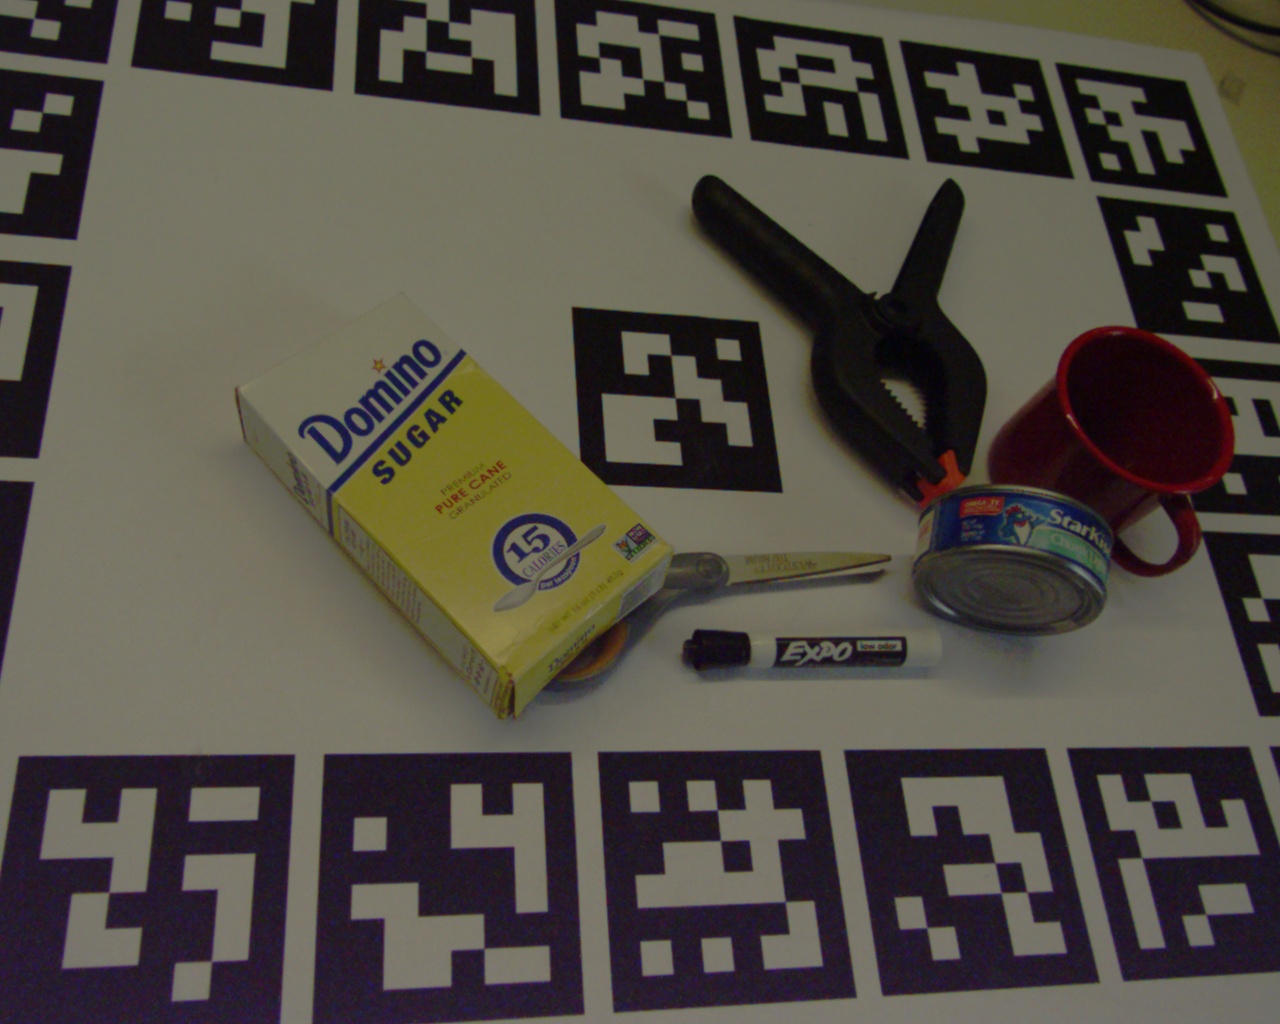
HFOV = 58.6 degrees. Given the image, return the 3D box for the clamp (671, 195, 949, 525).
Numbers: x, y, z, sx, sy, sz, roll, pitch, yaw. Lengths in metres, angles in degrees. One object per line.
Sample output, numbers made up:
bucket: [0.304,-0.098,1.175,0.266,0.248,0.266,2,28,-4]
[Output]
clamp: [0.118,-0.090,0.643,0.164,0.037,0.204,-8,69,-18]

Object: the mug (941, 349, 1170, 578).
mug: [0.220,-0.016,0.601,0.092,0.081,0.118,-25,71,-24]

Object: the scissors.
scissors: [0.018,0.030,0.556,0.201,0.016,0.088,-8,64,-20]

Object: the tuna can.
tuna can: [0.168,0.029,0.561,0.085,0.086,0.034,18,62,-7]

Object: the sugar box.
sugar box: [-0.083,0.000,0.526,0.092,0.045,0.177,-36,72,-26]

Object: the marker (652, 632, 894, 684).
marker: [0.064,0.071,0.552,0.120,0.020,0.020,-2,67,-15]
